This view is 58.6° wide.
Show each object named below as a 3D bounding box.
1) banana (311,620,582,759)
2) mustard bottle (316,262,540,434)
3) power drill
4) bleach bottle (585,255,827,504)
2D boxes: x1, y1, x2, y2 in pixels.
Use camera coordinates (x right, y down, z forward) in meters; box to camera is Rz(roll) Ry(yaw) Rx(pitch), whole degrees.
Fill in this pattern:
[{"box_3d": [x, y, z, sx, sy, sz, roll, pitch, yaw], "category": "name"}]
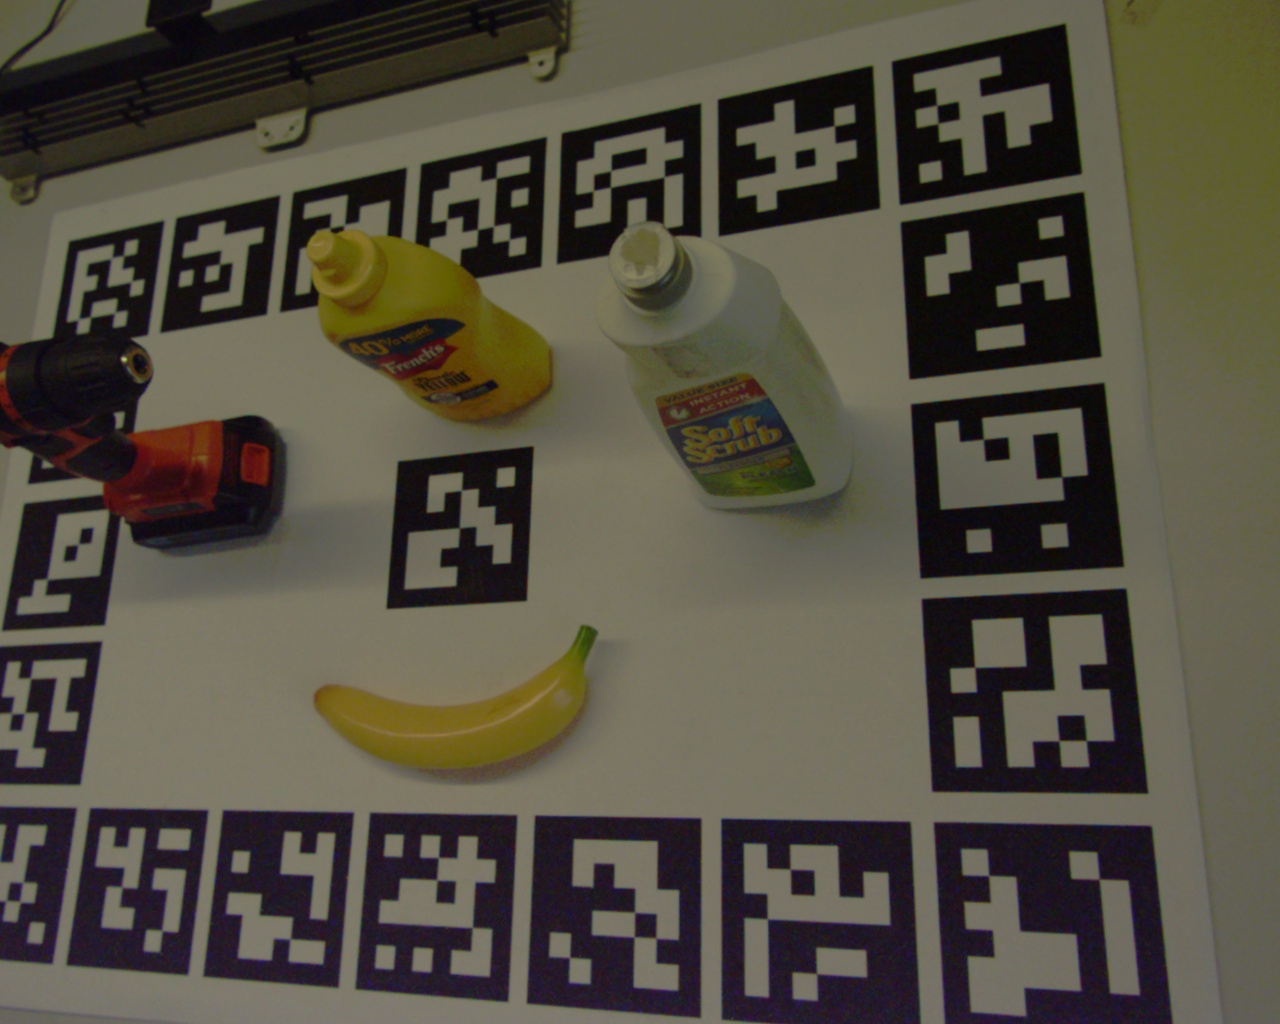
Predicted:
[{"box_3d": [-0.123, 0.117, 0.715, 0.199, 0.038, 0.074, -11, 74, 22], "category": "banana"}, {"box_3d": [-0.141, -0.105, 0.711, 0.097, 0.189, 0.058, -13, 72, 16], "category": "mustard bottle"}, {"box_3d": [-0.329, -0.052, 0.738, 0.186, 0.185, 0.057, -12, 72, 22], "category": "power drill"}, {"box_3d": [0.028, -0.066, 0.598, 0.103, 0.248, 0.068, 4, 77, 21], "category": "bleach bottle"}]
